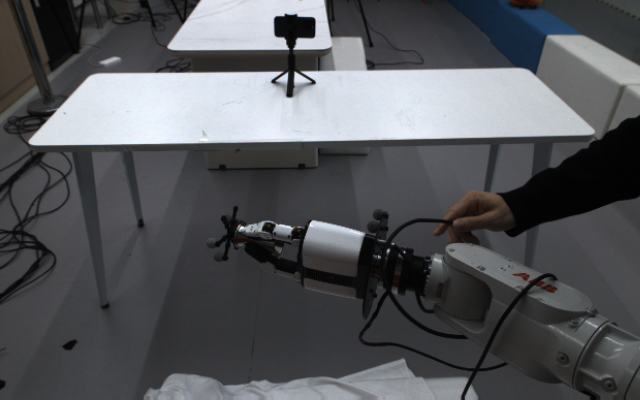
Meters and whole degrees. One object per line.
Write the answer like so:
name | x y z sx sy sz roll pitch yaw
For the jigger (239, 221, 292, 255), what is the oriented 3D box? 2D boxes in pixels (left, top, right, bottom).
jigger | -0.088 0.057 0.753 0.071 0.043 0.043 10 35 16
